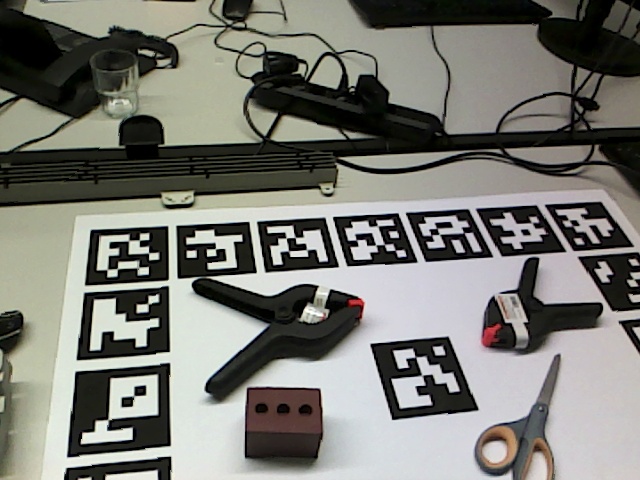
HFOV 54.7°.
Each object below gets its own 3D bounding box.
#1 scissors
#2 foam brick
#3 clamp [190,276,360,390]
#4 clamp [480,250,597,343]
[{"bbox_3d":[0.237,0.196,0.704,0.088,0.016,0.202,30,47,11],"label":"scissors"},{"bbox_3d":[-0.040,0.192,0.656,0.078,0.051,0.053,-1,47,-2],"label":"foam brick"},{"bbox_3d":[-0.048,0.097,0.757,0.202,0.036,0.166,-6,44,-14],"label":"clamp"},{"bbox_3d":[0.272,0.086,0.813,0.164,0.036,0.122,-27,61,-28],"label":"clamp"}]
